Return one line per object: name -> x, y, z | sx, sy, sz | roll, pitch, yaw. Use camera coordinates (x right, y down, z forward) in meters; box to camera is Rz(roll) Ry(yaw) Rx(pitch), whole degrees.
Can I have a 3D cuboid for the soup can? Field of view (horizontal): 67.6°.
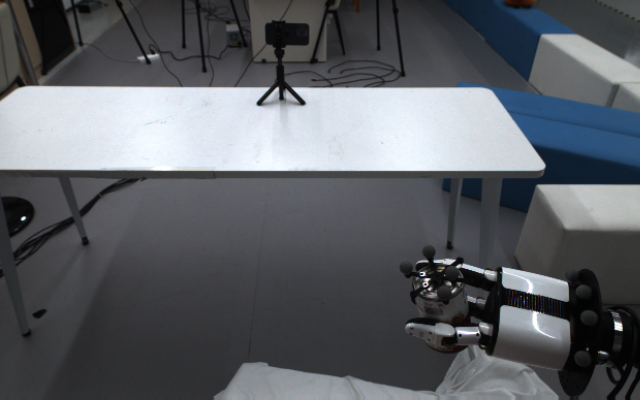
soup can -> 0.166, 0.143, 0.641 | 0.067, 0.101, 0.067 | -13, 31, 8
